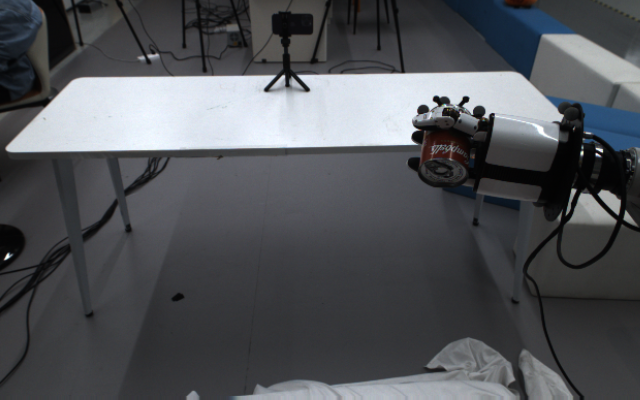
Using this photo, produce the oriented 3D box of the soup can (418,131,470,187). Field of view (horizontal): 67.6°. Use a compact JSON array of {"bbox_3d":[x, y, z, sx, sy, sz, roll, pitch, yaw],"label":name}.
[{"bbox_3d":[0.178,-0.078,0.679,0.067,0.067,0.101,9,58,10],"label":"soup can"}]
